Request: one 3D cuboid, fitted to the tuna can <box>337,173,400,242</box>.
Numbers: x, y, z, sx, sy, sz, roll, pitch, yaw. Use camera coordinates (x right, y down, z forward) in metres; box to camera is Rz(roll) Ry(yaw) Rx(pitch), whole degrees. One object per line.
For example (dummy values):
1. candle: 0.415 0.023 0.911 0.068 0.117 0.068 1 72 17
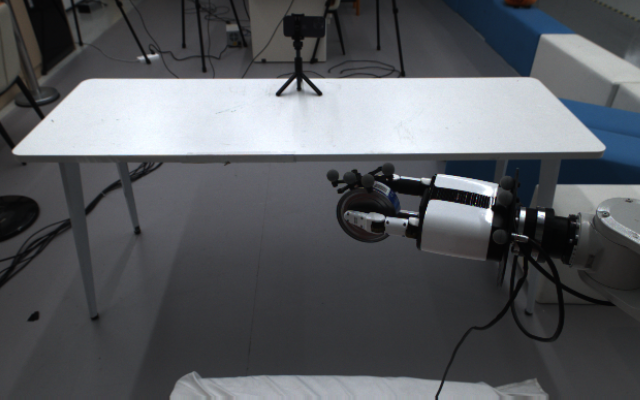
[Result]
1. tuna can: 0.070 0.014 0.681 0.085 0.085 0.034 13 29 15
